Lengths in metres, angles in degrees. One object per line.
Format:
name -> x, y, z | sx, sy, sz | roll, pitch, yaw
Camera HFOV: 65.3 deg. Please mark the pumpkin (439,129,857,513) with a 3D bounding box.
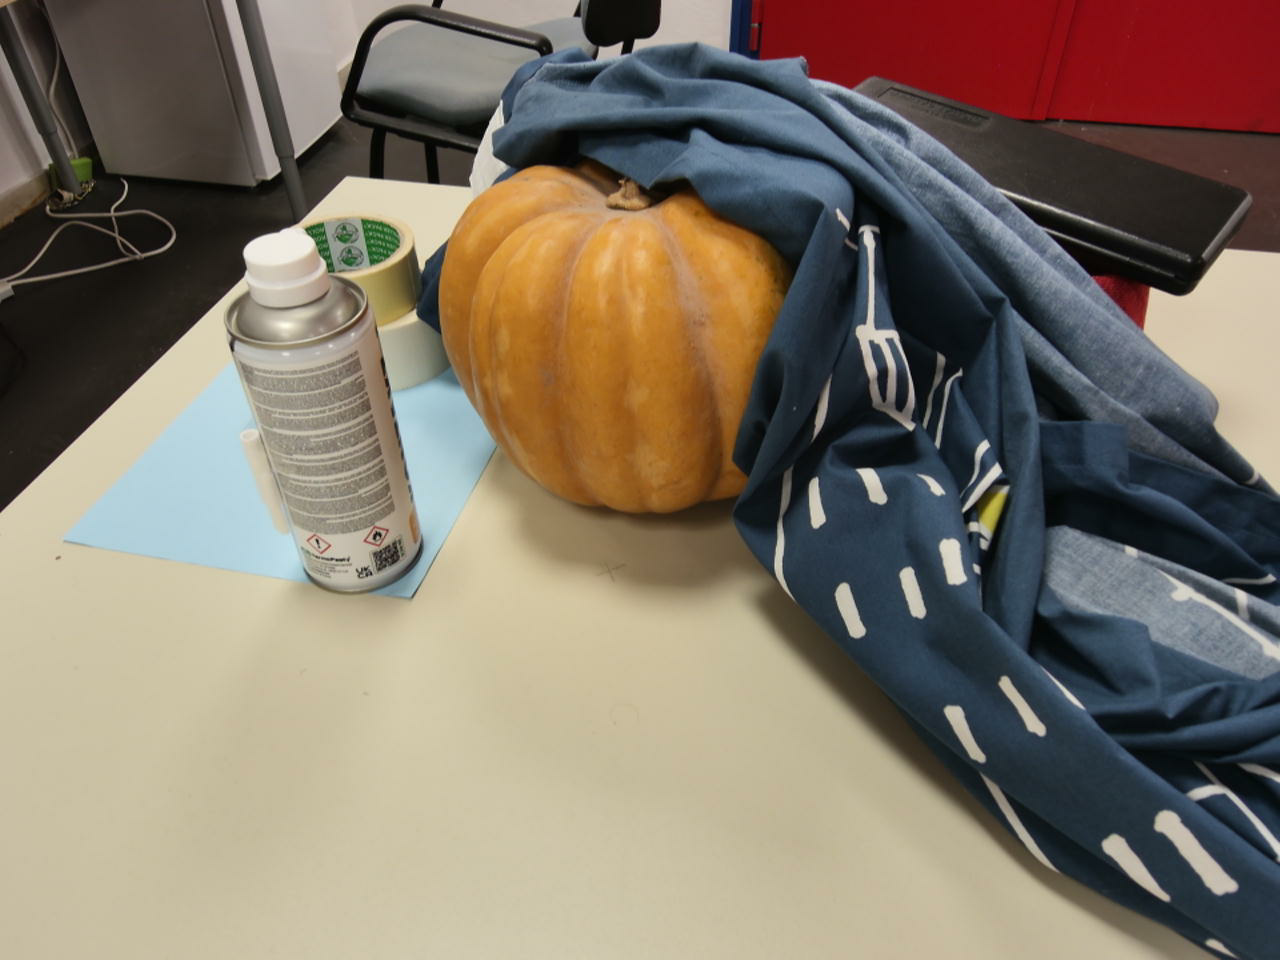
pumpkin -> 0.008, -0.087, 0.558 | 0.230, 0.194, 0.230 | 0, 39, 0
